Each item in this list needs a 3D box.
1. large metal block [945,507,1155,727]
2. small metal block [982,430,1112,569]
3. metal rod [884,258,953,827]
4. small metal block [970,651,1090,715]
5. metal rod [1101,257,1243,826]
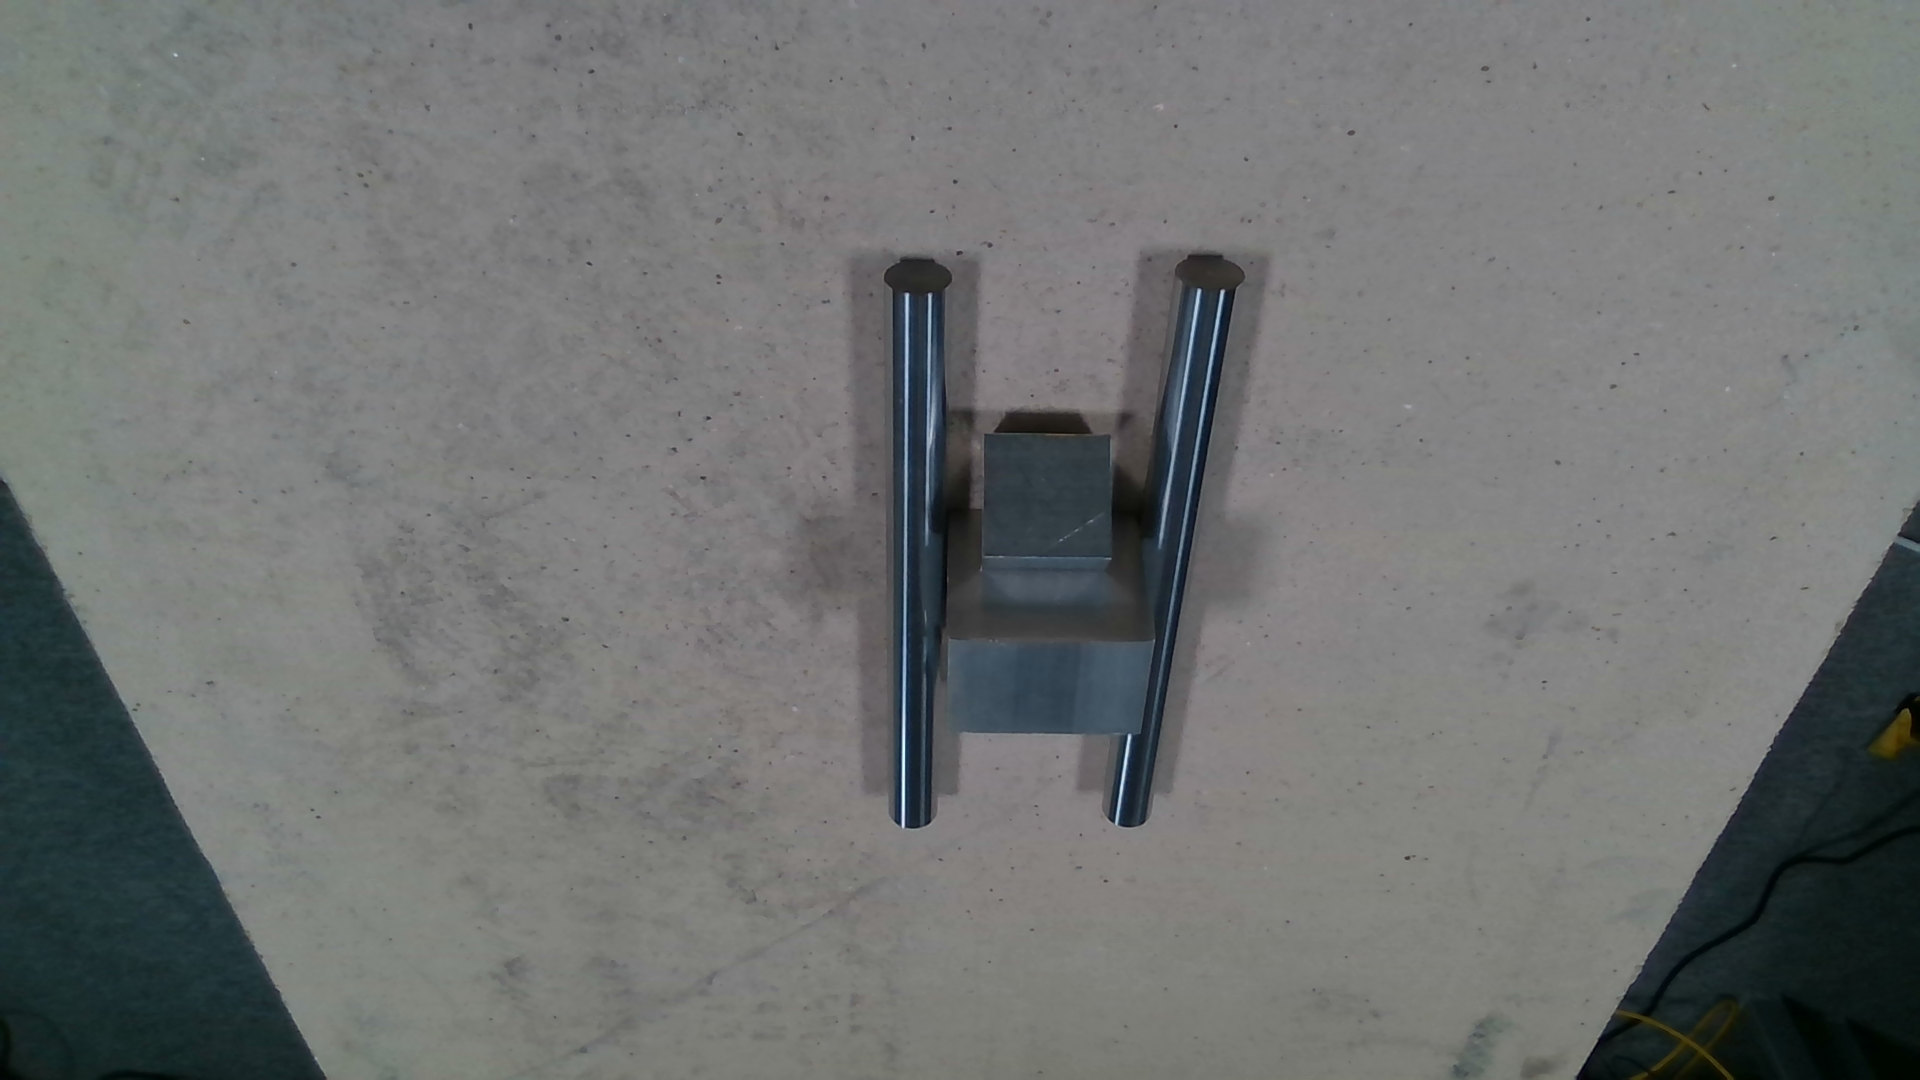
[{"bbox_3d":[0.034,0.031,0.572,0.080,0.080,0.050,1,130,0],"label":"large metal block"},{"bbox_3d":[0.034,-0.016,0.548,0.050,0.050,0.025,1,169,0],"label":"small metal block"},{"bbox_3d":[-0.020,0.019,0.595,0.025,0.025,0.301,1,130,-1],"label":"metal rod"},{"bbox_3d":[0.030,0.063,0.615,0.050,0.050,0.025,0,88,-1],"label":"small metal block"},{"bbox_3d":[0.086,0.019,0.595,0.025,0.025,0.301,1,130,-1],"label":"metal rod"}]
